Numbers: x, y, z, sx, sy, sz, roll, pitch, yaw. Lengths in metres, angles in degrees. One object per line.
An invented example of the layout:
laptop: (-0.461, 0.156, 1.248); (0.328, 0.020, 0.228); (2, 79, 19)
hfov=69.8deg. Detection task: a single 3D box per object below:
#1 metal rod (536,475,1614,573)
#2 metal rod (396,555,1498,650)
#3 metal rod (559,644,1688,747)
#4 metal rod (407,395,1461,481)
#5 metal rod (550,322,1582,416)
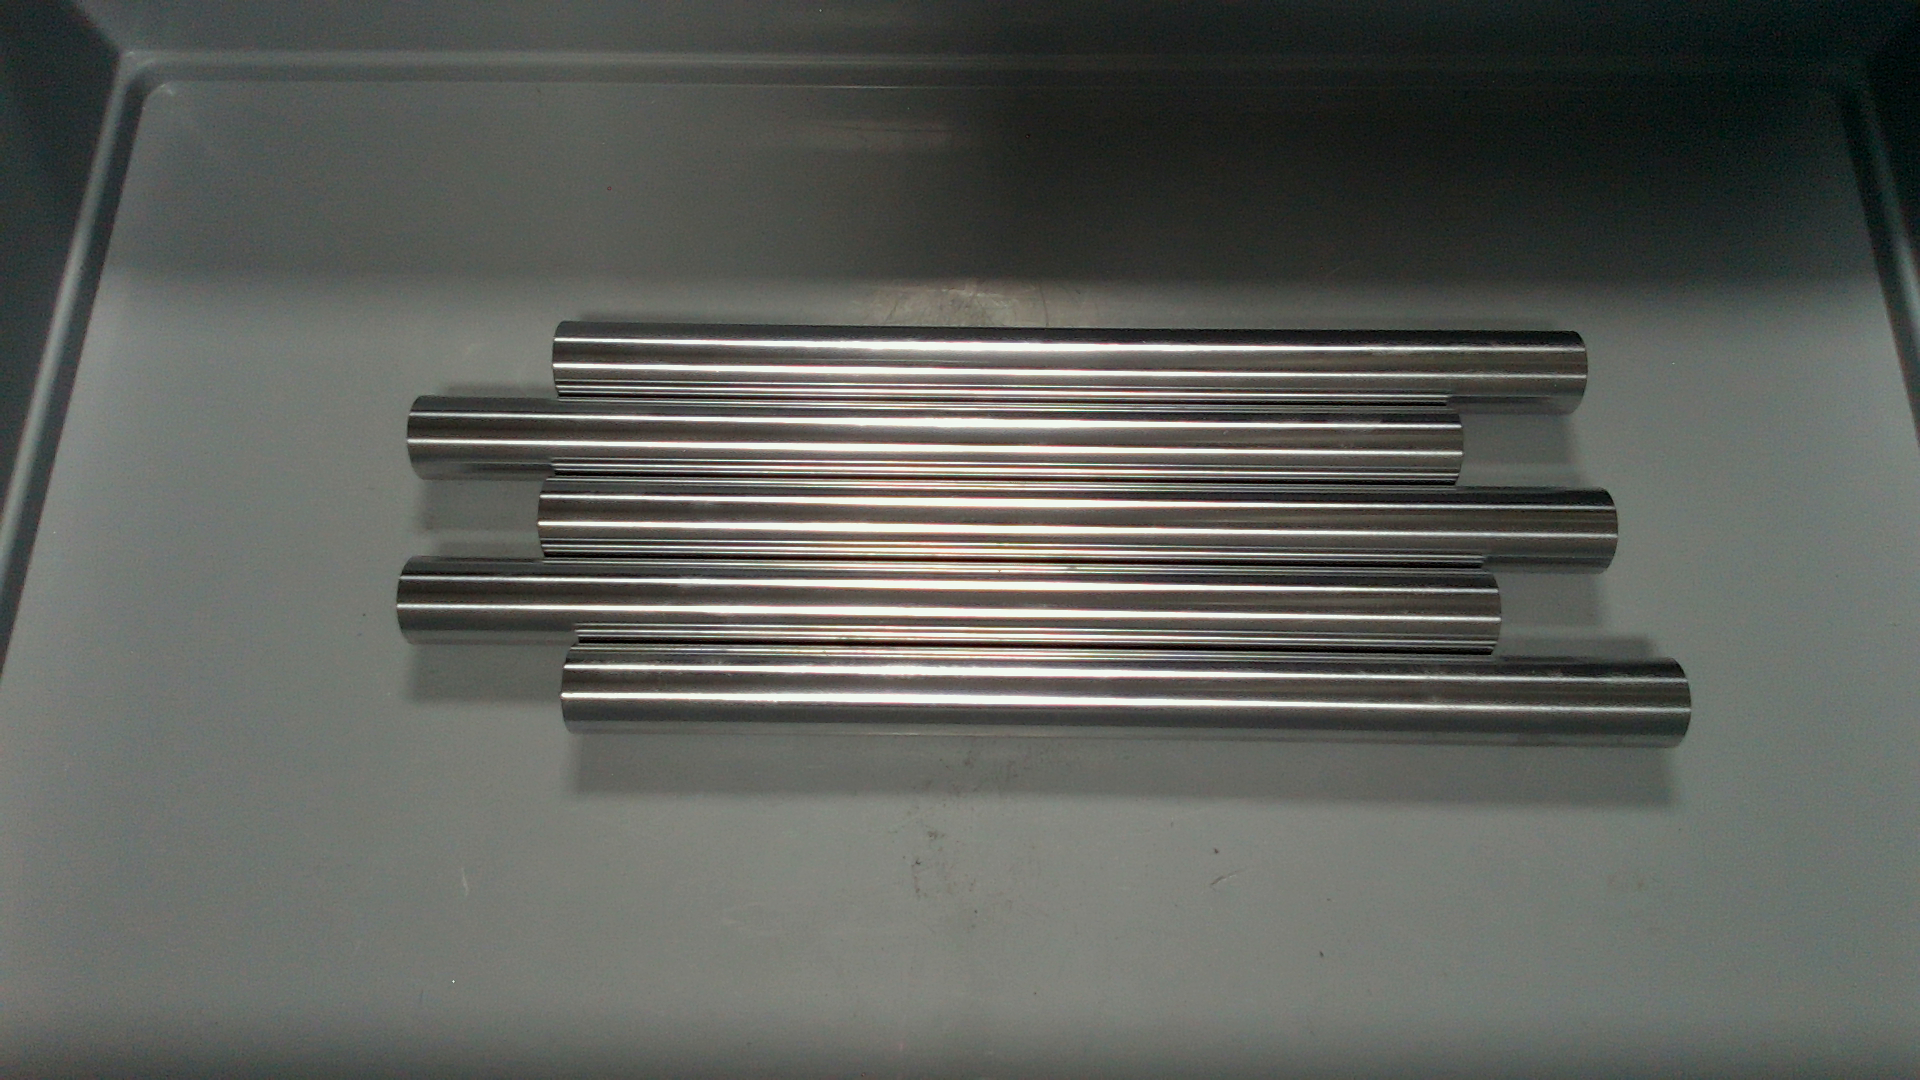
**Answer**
metal rod: (0.032, -0.005, 0.395); (0.300, 0.025, 0.025); (1, 70, 0)
metal rod: (-0.003, 0.018, 0.387); (0.300, 0.025, 0.025); (1, 70, 0)
metal rod: (0.043, 0.043, 0.378); (0.300, 0.025, 0.025); (1, 70, 0)
metal rod: (-0.007, -0.029, 0.404); (0.300, 0.025, 0.025); (1, 70, 0)
metal rod: (0.031, -0.051, 0.412); (0.300, 0.025, 0.025); (1, 70, 0)
